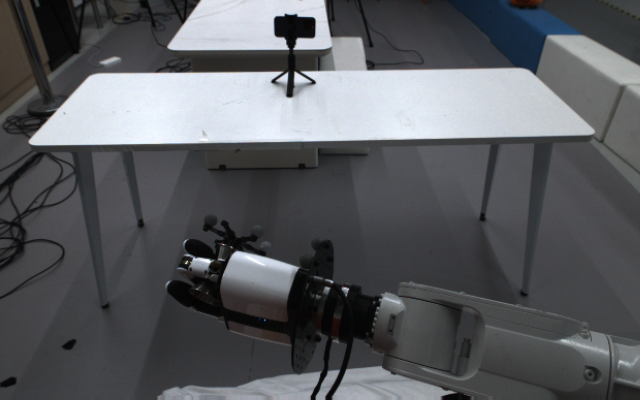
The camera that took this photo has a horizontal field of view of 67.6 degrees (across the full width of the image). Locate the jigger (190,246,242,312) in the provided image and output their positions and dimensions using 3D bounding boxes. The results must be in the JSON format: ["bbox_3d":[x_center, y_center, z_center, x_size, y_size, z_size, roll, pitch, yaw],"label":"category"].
[{"bbox_3d":[-0.126,0.094,0.610,0.043,0.043,0.071,13,58,16],"label":"jigger"}]
